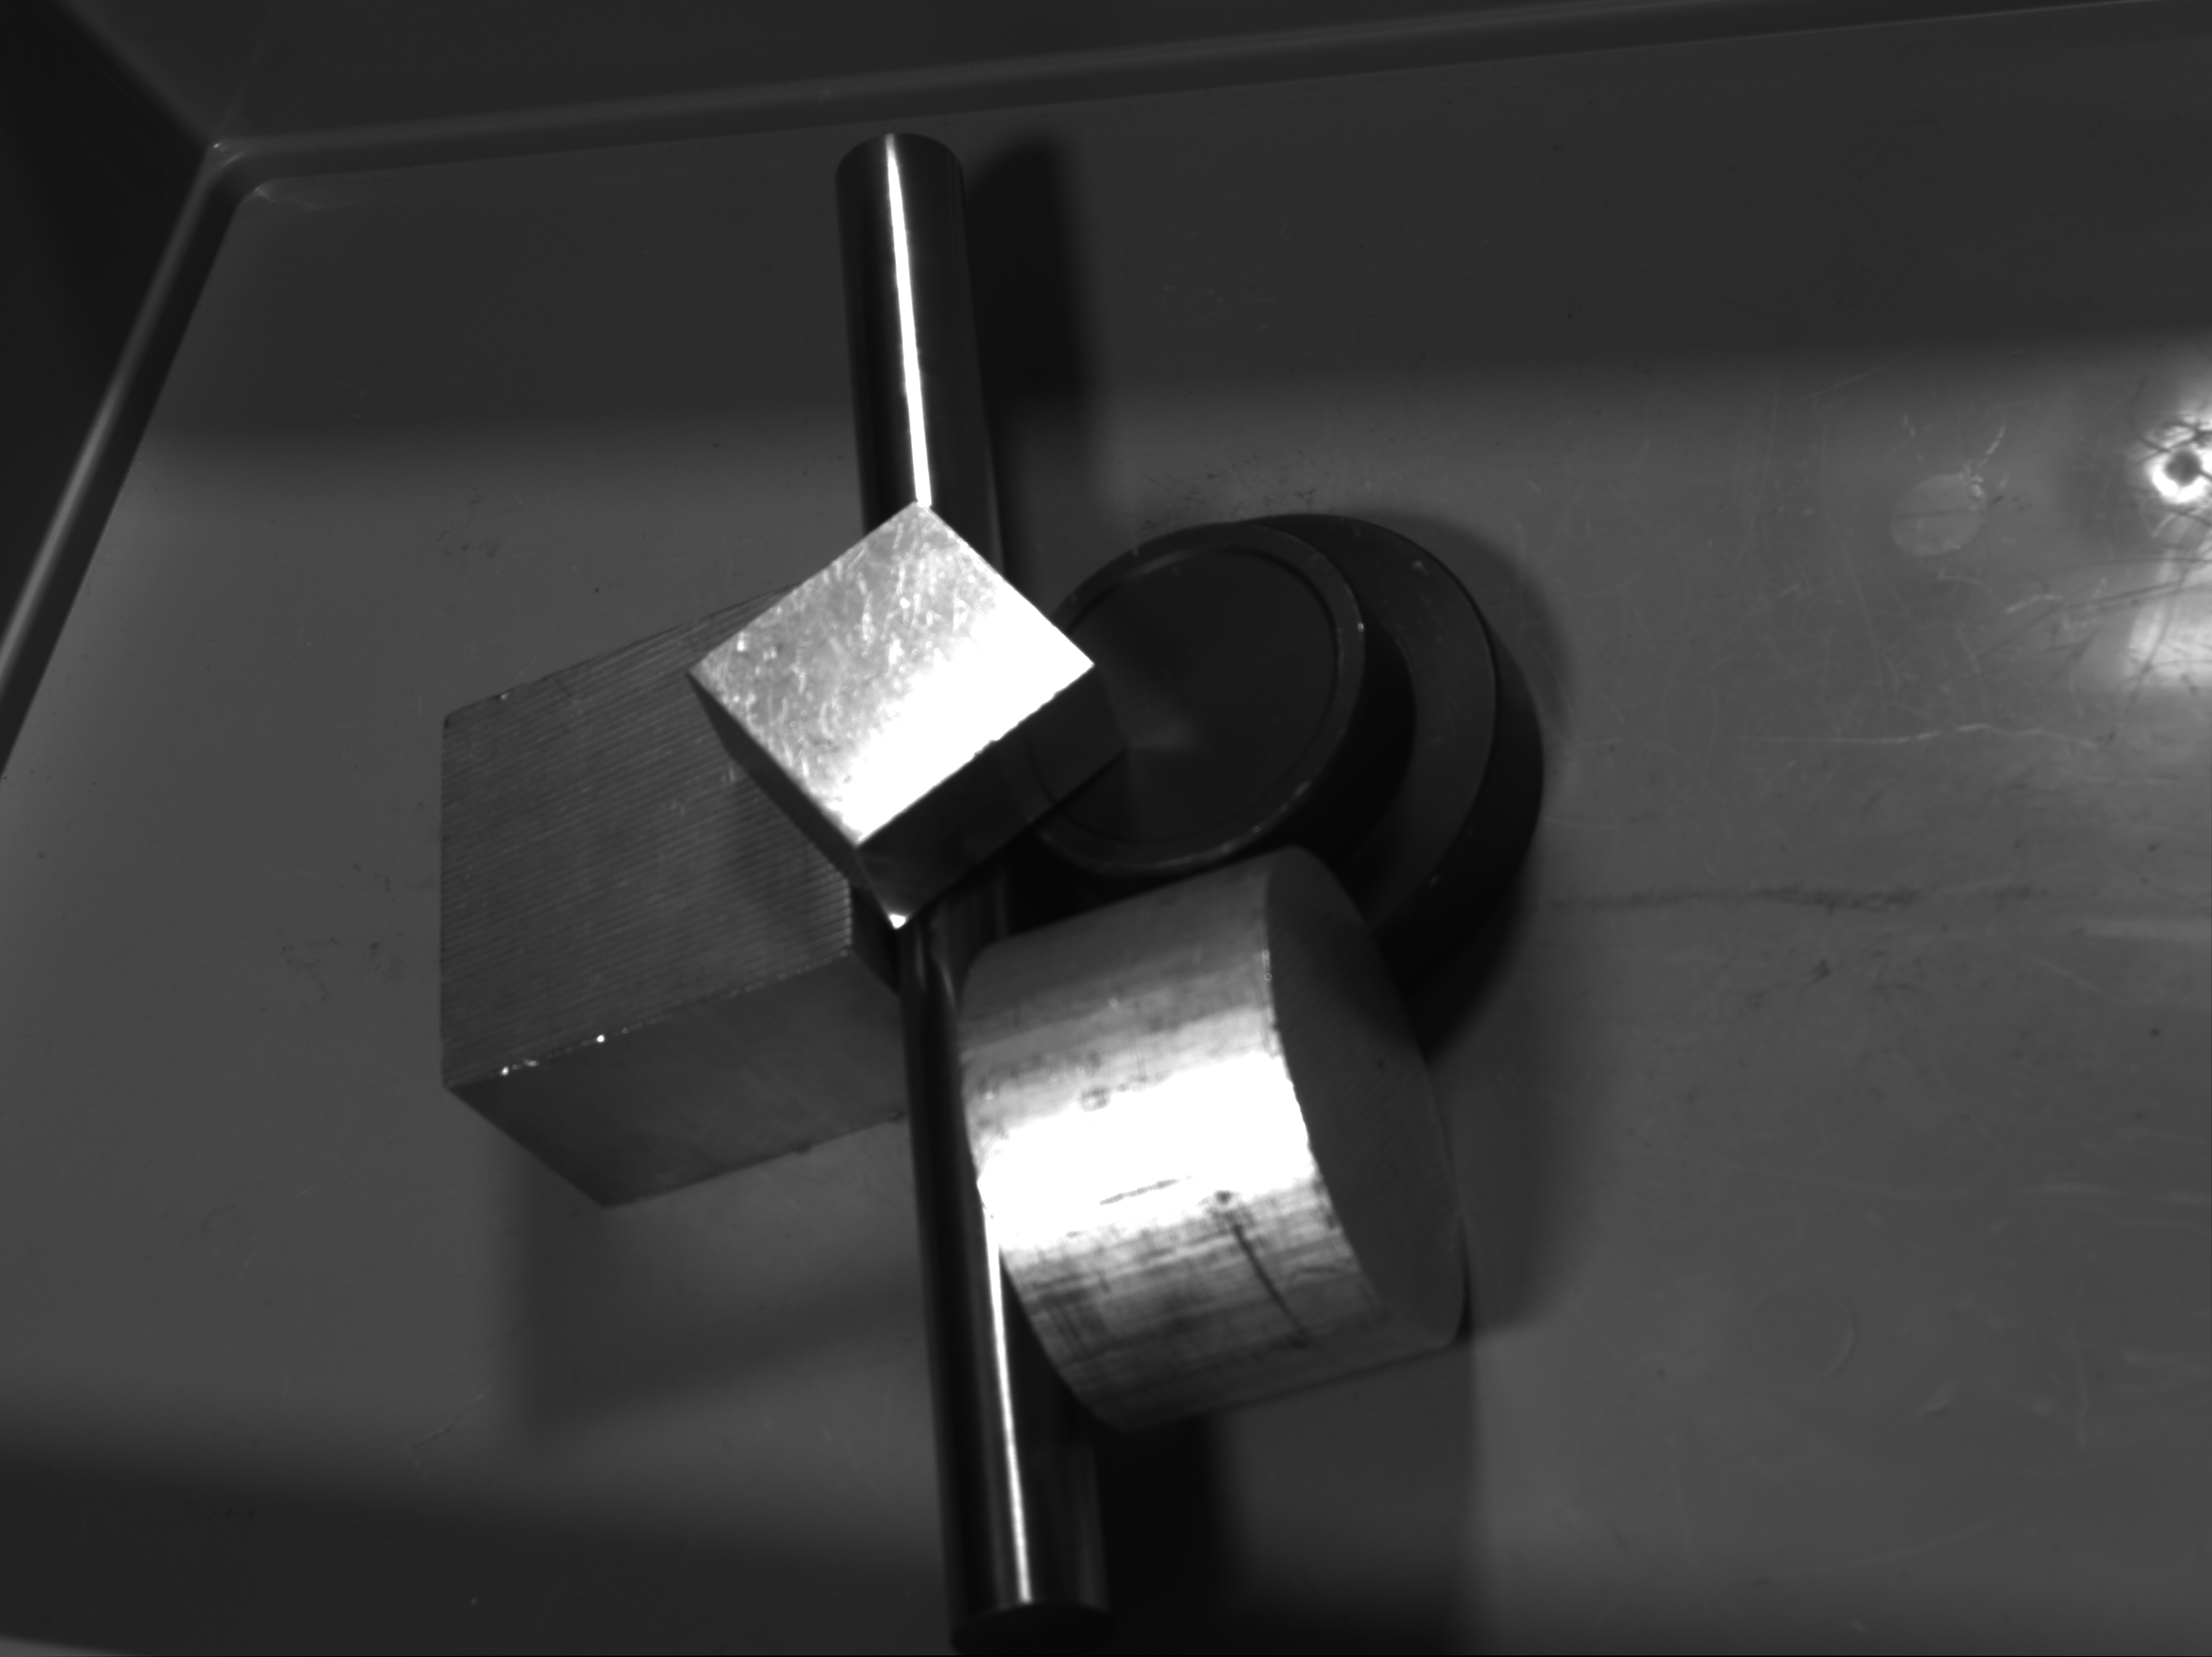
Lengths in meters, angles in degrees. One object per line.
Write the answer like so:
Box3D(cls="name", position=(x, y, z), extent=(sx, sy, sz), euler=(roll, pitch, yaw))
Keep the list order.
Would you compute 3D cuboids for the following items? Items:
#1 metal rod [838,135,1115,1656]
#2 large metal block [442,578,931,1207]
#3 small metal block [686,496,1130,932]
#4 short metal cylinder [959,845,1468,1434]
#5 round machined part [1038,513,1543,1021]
Box3D(cls="metal rod", position=(-0.025, -0.003, 0.632), extent=(0.025, 0.025, 0.300), euler=(-19, 54, 17))
Box3D(cls="large metal block", position=(-0.070, 0.011, 0.655), extent=(0.080, 0.050, 0.080), euler=(-19, 54, 17))
Box3D(cls="small metal block", position=(-0.033, -0.020, 0.610), extent=(0.050, 0.025, 0.050), euler=(-38, 57, -12))
Box3D(cls="short metal cylinder", position=(0.018, 0.048, 0.568), extent=(0.050, 0.080, 0.080), euler=(-19, 54, 17))
Box3D(cls="round machined part", position=(0.022, -0.013, 0.628), extent=(0.098, 0.042, 0.098), euler=(-13, 56, 21))
